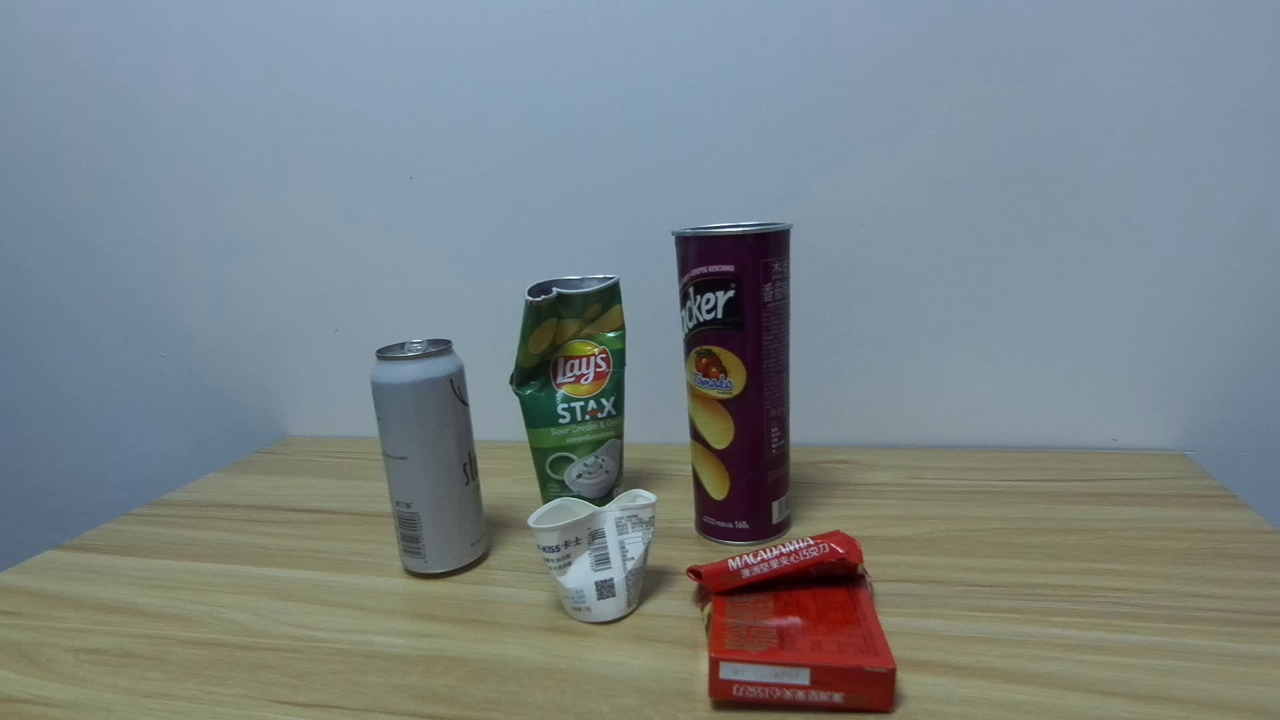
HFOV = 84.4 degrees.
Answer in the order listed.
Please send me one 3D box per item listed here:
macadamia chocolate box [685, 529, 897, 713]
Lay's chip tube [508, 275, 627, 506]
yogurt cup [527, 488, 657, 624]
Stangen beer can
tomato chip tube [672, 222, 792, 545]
[{"bbox_3d":[0.082,0.150,0.414,0.112,0.056,0.126,-18,14,13],"label":"macadamia chocolate box"},{"bbox_3d":[-0.054,0.034,0.586,0.069,0.201,0.077,5,20,33],"label":"Lay's chip tube"},{"bbox_3d":[-0.028,0.127,0.463,0.076,0.071,0.053,-19,22,-41],"label":"yogurt cup"},{"bbox_3d":[-0.158,0.074,0.534,0.067,0.171,0.067,-5,11,1],"label":"Stangen beer can"},{"bbox_3d":[0.074,0.017,0.536,0.077,0.234,0.080,-8,14,-17],"label":"tomato chip tube"}]
